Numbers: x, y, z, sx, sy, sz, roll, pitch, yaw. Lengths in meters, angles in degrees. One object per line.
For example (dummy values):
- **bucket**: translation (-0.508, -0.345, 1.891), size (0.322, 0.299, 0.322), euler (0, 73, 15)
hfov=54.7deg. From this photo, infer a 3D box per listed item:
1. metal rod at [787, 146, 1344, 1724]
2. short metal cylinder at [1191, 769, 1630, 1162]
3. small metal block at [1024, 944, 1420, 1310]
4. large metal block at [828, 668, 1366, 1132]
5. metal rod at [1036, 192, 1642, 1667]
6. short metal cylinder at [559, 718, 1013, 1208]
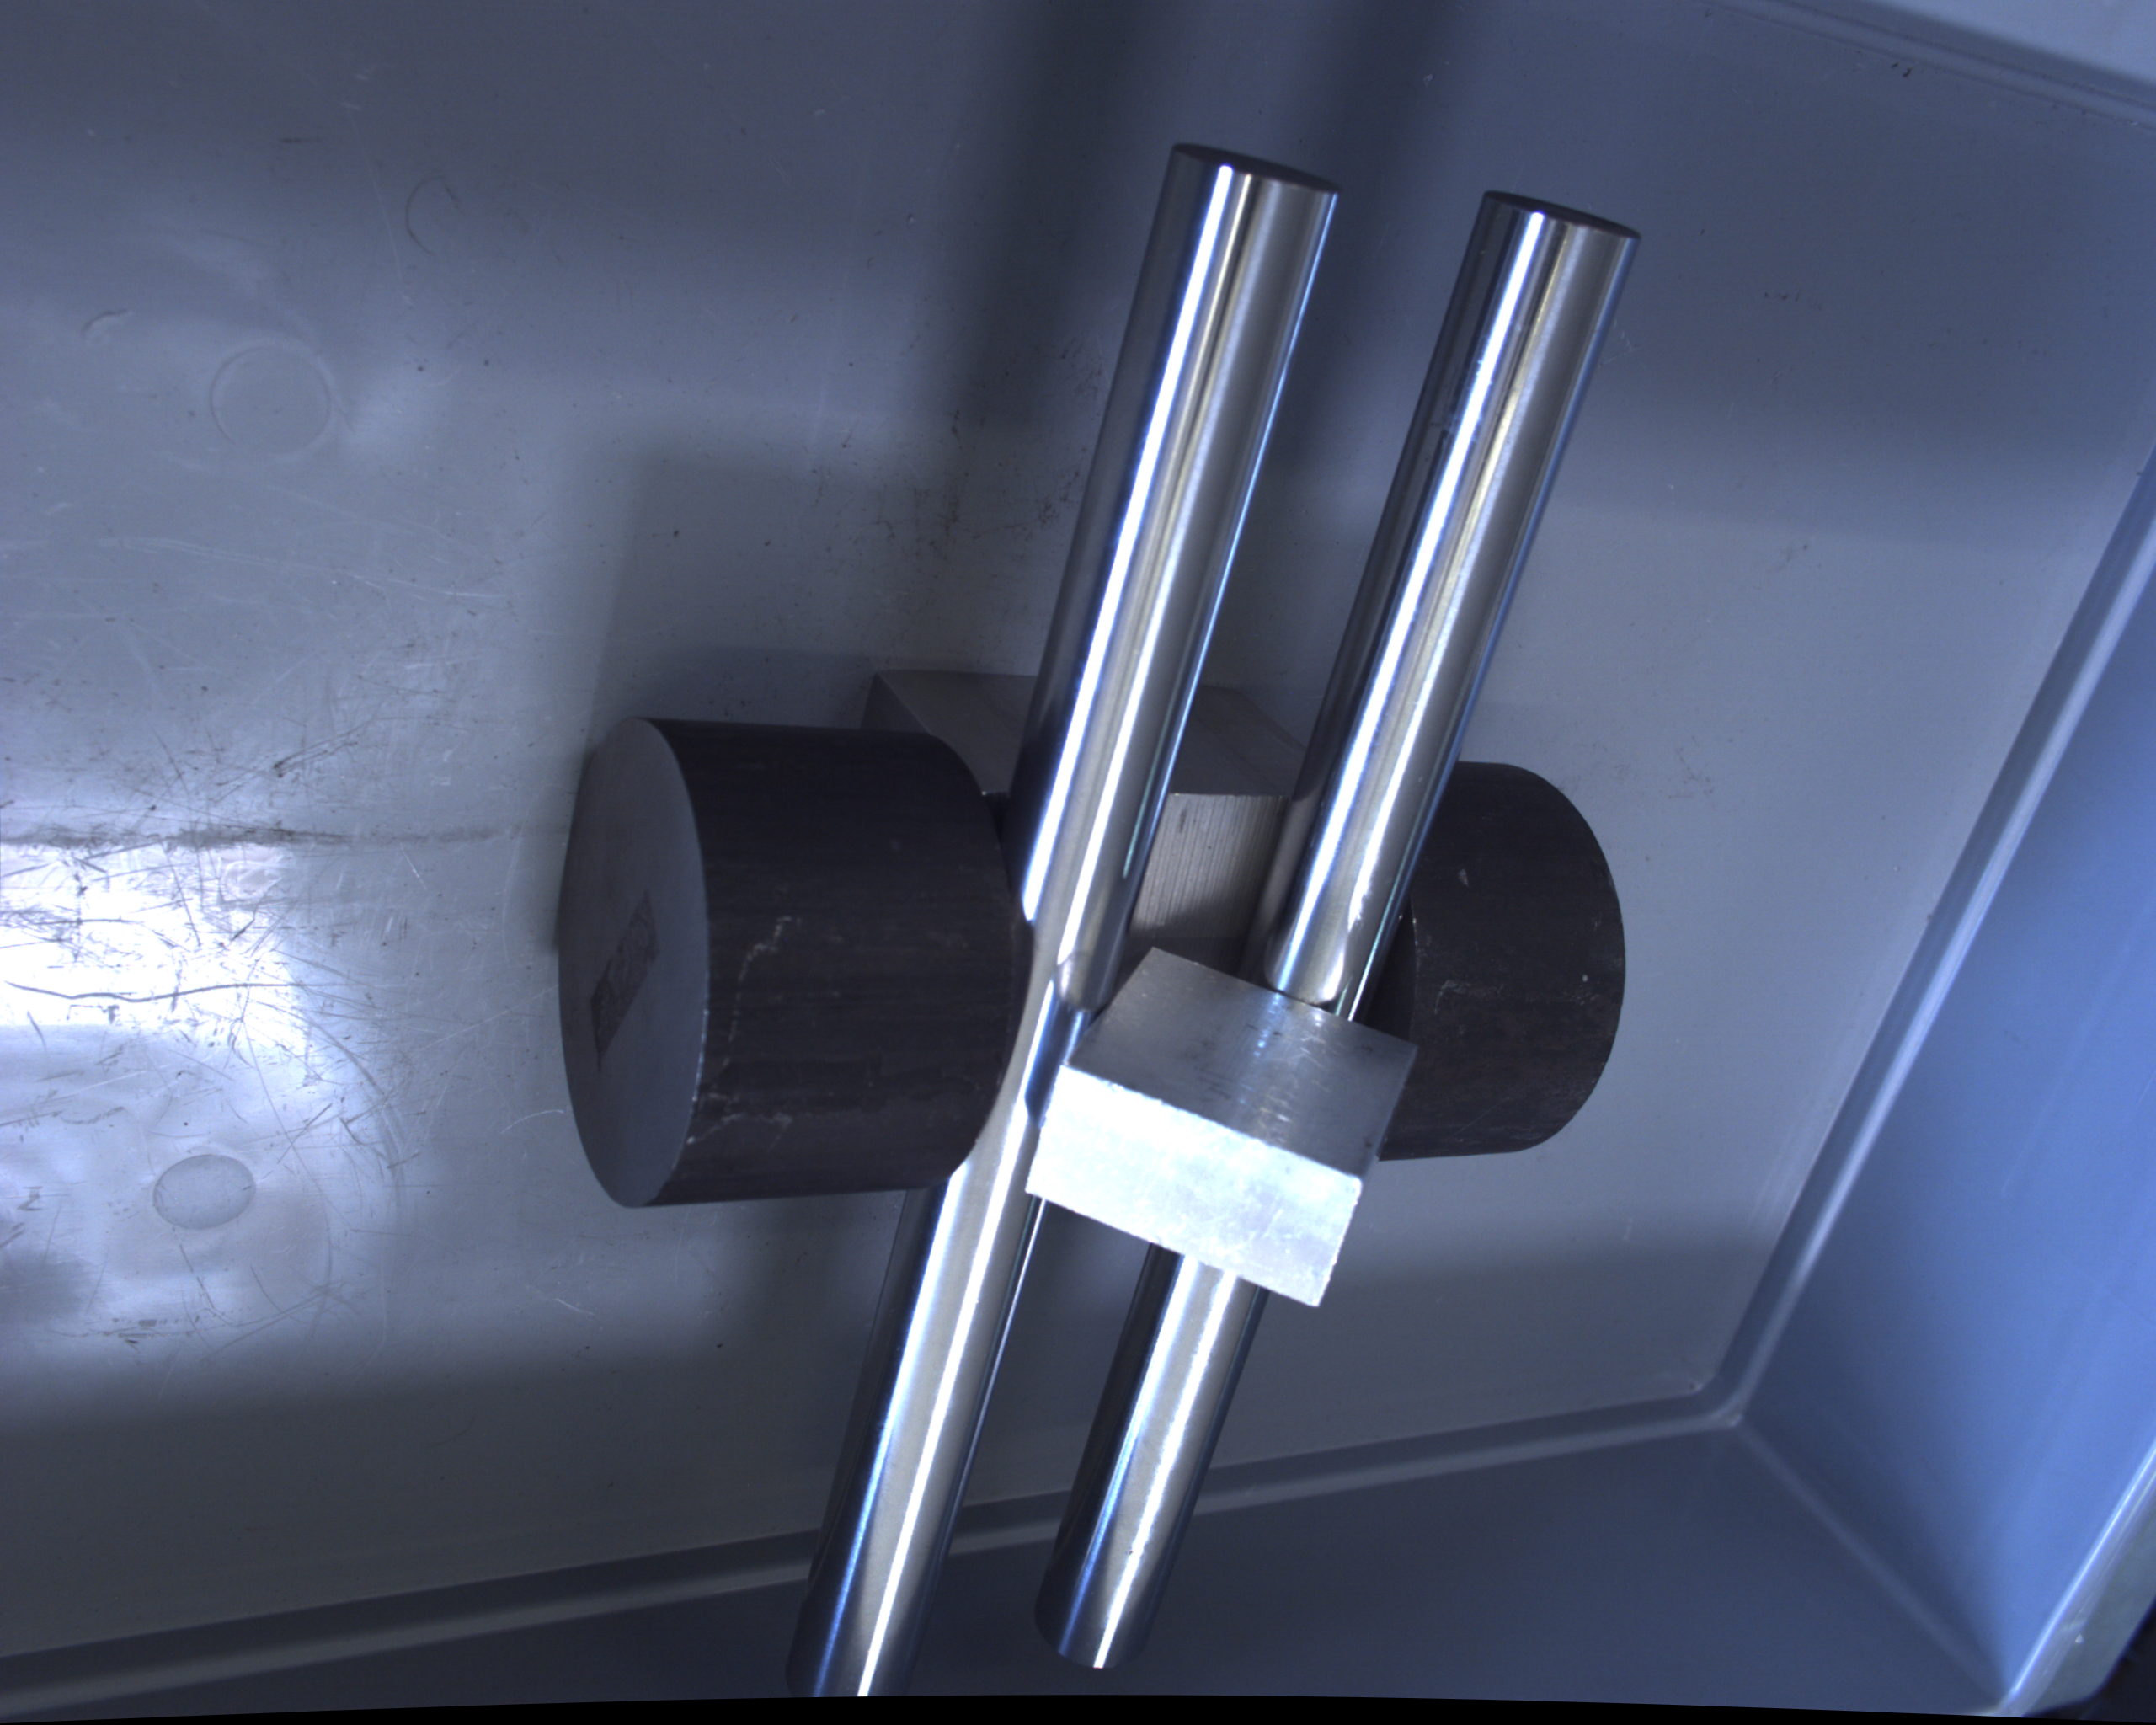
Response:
- **metal rod**: translation (-0.010, 0.032, 0.357), size (0.025, 0.025, 0.298), euler (1, 118, -29)
- **short metal cylinder**: translation (0.063, 0.020, 0.418), size (0.050, 0.080, 0.079), euler (1, 118, -28)
- **small metal block**: translation (0.025, 0.042, 0.349), size (0.050, 0.050, 0.025), euler (20, 115, 11)
- **large metal block**: translation (-0.001, 0.012, 0.397), size (0.081, 0.050, 0.079), euler (1, 118, -29)
- **metal rod**: translation (0.039, 0.031, 0.383), size (0.025, 0.025, 0.298), euler (1, 118, -29)
- **short metal cylinder**: translation (-0.052, 0.017, 0.353), size (0.050, 0.080, 0.079), euler (1, 118, -29)
